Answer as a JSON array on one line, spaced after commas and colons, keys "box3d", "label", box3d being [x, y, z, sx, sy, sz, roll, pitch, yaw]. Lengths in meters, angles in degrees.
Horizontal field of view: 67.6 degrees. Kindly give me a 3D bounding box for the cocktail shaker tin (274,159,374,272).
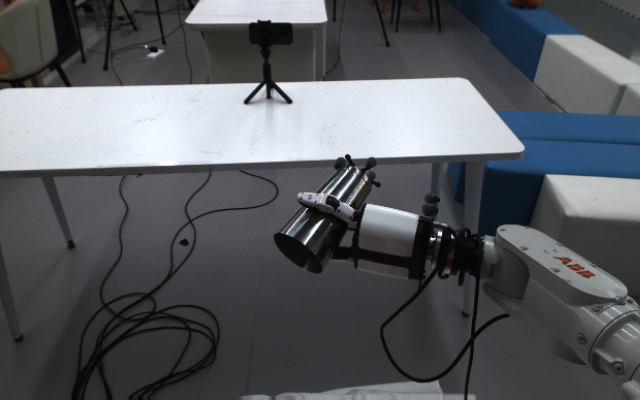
[{"box3d": [0.012, 0.017, 0.776, 0.093, 0.093, 0.170, 23, 58, 27], "label": "cocktail shaker tin"}]
